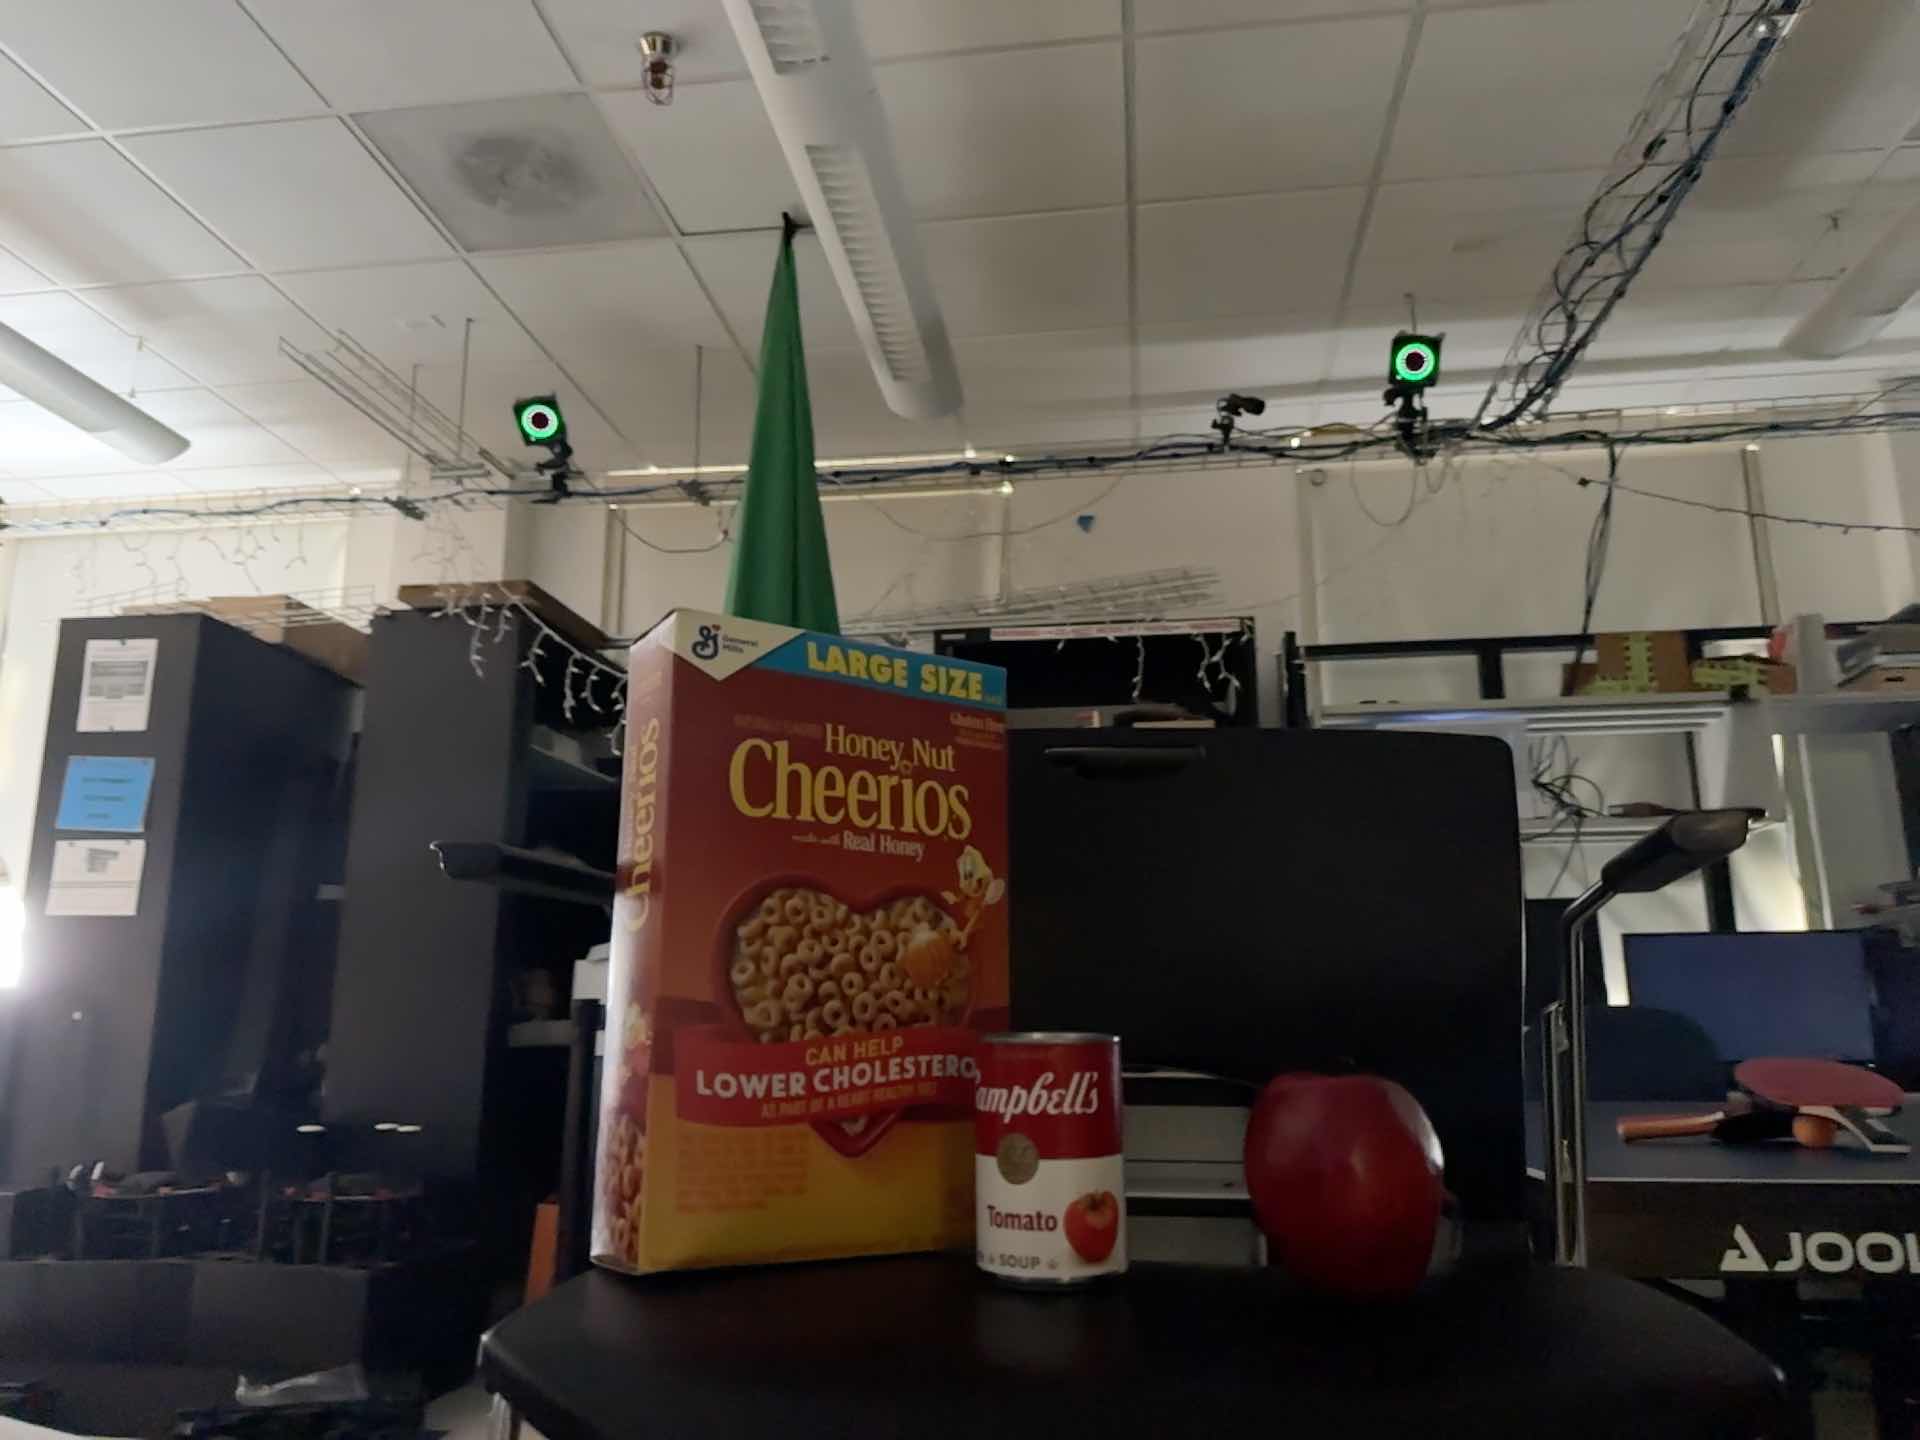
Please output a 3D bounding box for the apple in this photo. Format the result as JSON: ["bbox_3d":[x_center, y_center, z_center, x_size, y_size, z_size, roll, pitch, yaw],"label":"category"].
[{"bbox_3d":[0.159,0.185,0.555,0.079,0.093,0.079,-2,-6,0],"label":"apple"}]

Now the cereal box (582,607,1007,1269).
[{"bbox_3d":[-0.077,0.107,0.691,0.195,0.297,0.065,9,-14,-31],"label":"cereal box"}]

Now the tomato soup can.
[{"bbox_3d":[0.040,0.191,0.605,0.067,0.102,0.067,0,-10,0],"label":"tomato soup can"}]
